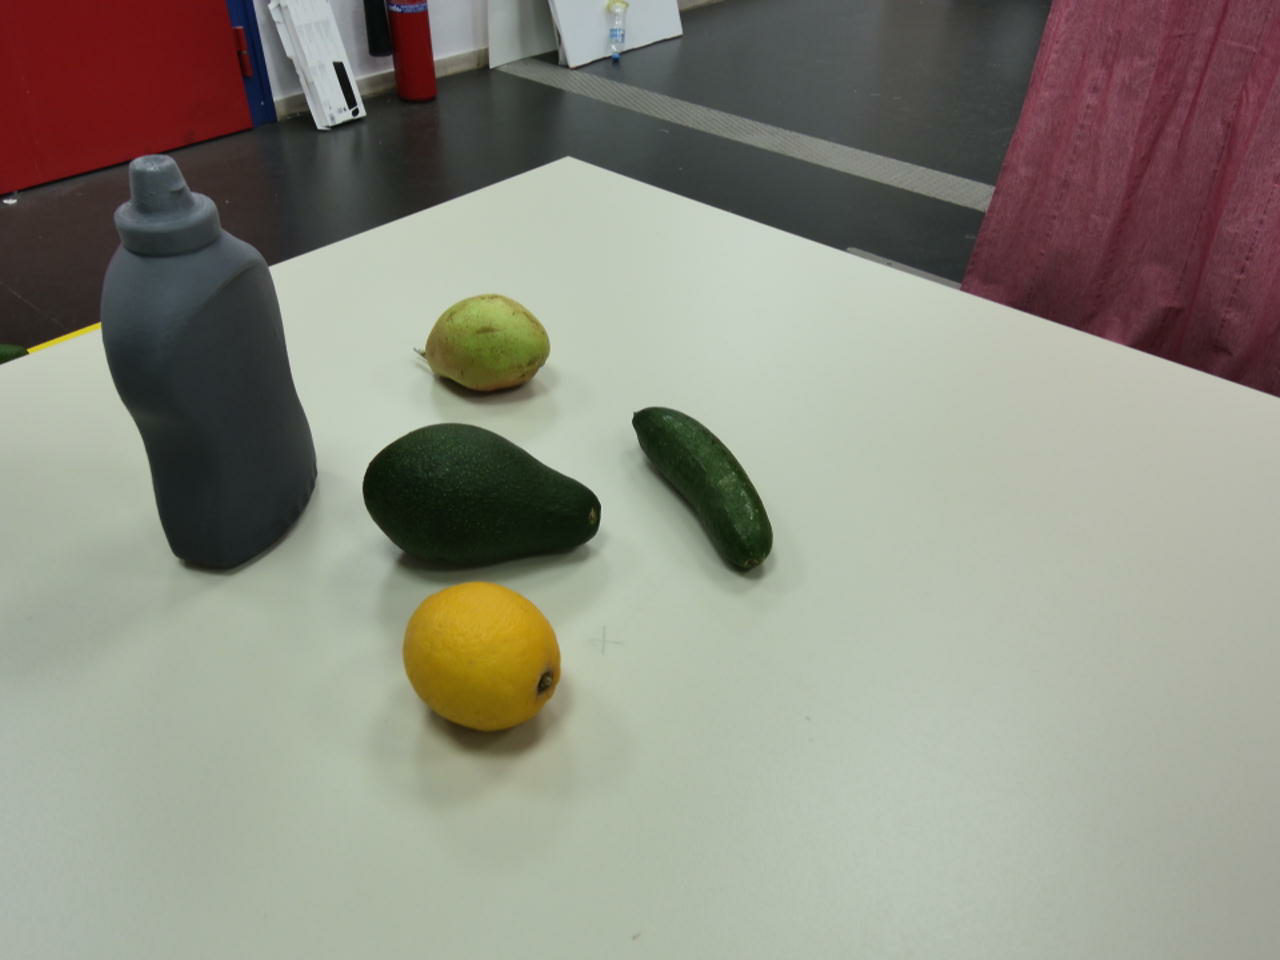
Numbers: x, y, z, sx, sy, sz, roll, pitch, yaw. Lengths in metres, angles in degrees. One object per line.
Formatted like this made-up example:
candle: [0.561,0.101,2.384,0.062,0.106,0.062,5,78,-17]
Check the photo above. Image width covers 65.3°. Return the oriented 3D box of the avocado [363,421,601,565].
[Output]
avocado: [-0.079,0.008,0.494,0.110,0.071,0.072,11,38,13]
